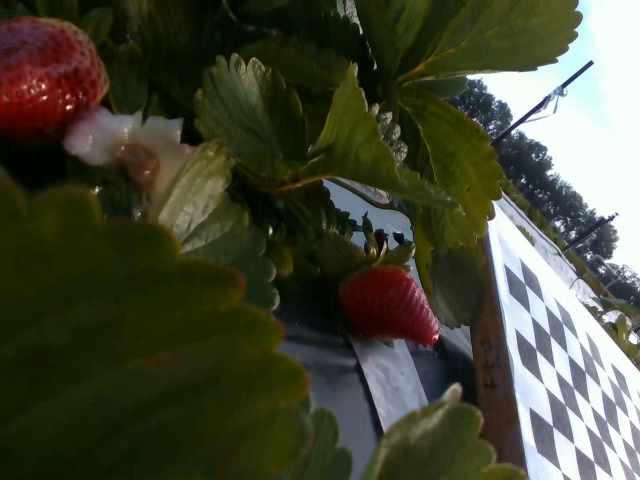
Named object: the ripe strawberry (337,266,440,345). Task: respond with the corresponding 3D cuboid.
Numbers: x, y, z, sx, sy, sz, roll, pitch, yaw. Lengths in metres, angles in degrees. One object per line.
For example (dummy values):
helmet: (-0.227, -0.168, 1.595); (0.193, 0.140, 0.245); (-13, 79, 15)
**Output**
ripe strawberry: (0.034, 0.029, 0.245); (0.035, 0.055, 0.050); (-36, -51, 12)
